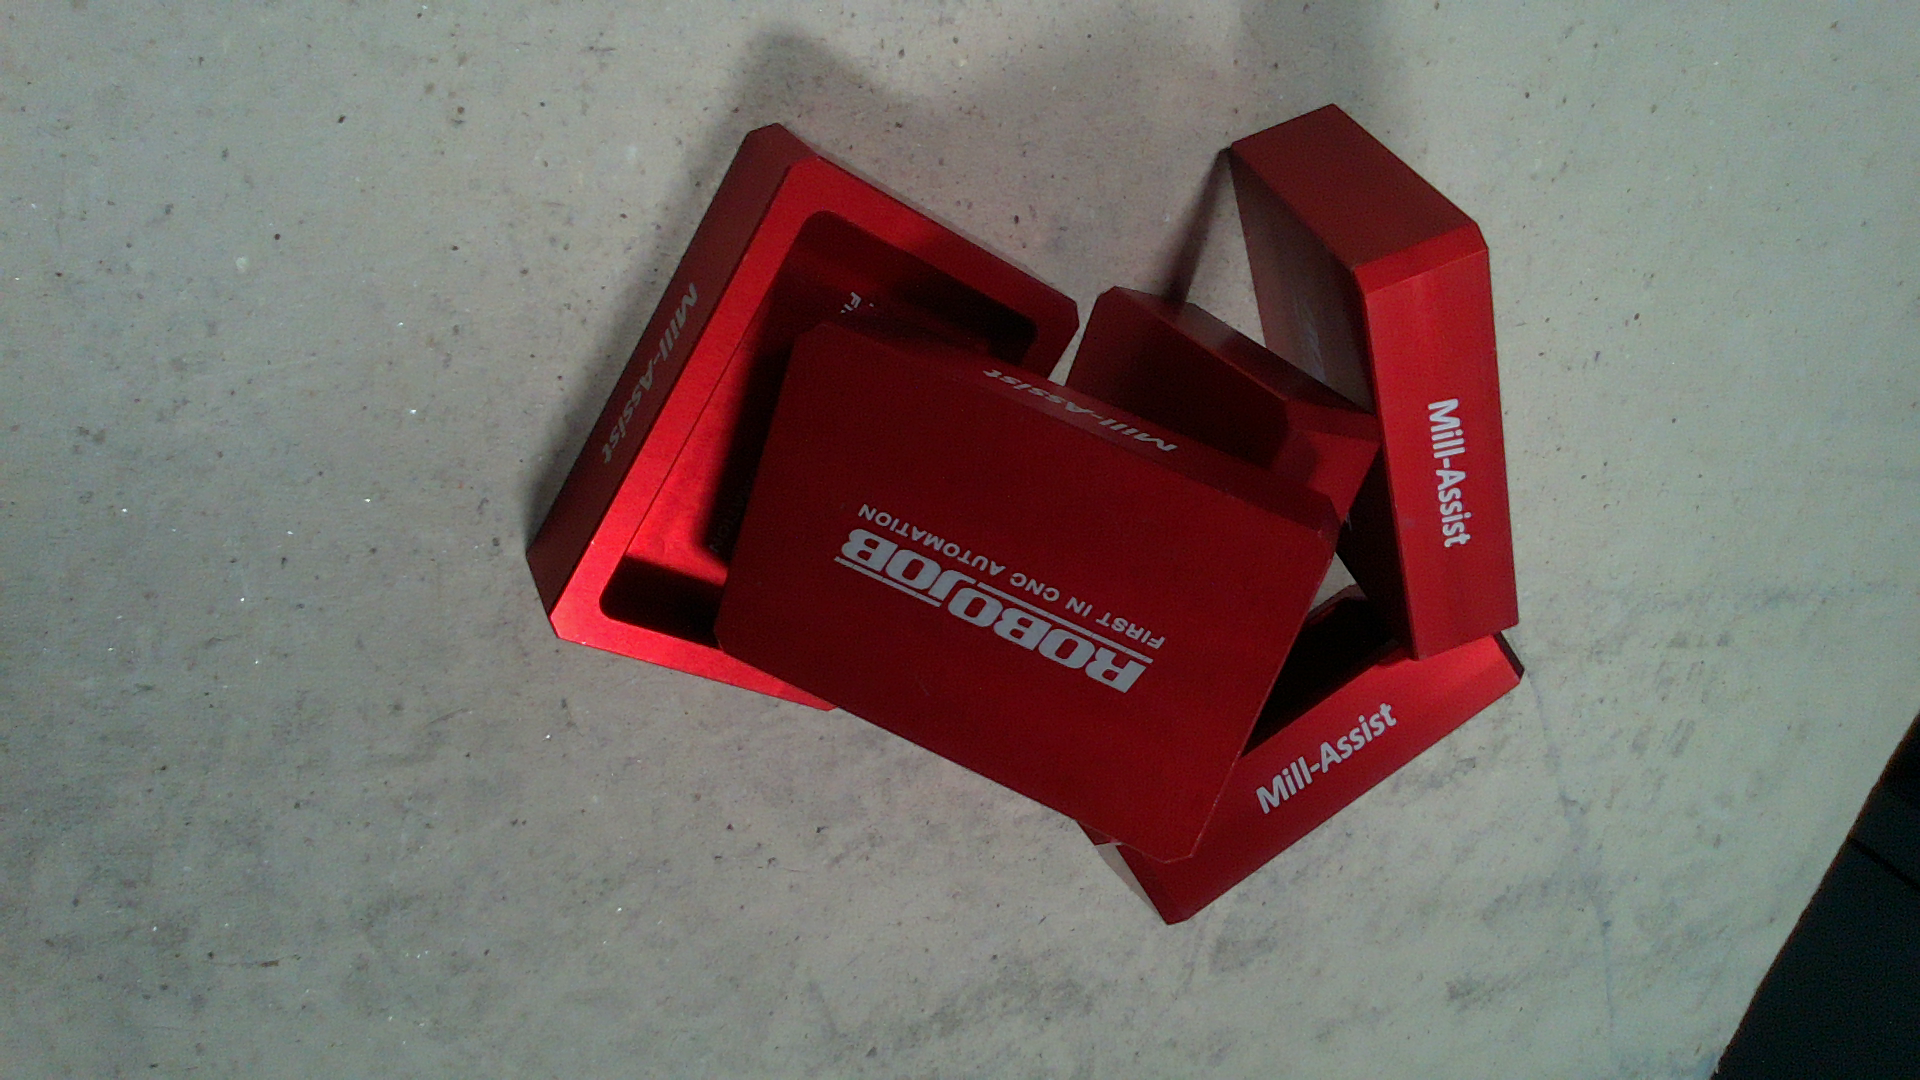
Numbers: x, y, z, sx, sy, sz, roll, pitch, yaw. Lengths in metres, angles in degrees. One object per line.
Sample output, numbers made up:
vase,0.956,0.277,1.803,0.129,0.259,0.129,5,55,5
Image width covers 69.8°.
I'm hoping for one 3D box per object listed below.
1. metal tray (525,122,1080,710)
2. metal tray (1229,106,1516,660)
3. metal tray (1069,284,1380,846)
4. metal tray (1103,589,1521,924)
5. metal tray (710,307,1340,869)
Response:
metal tray,-0.040,-0.025,0.349,0.090,0.030,0.130,21,107,-36
metal tray,0.114,-0.042,0.381,0.030,0.090,0.130,-21,128,2
metal tray,0.051,0.007,0.379,0.030,0.090,0.130,6,116,-31
metal tray,0.100,0.063,0.440,0.130,0.090,0.030,-33,94,-6
metal tray,0.013,0.010,0.330,0.130,0.030,0.090,24,112,10
